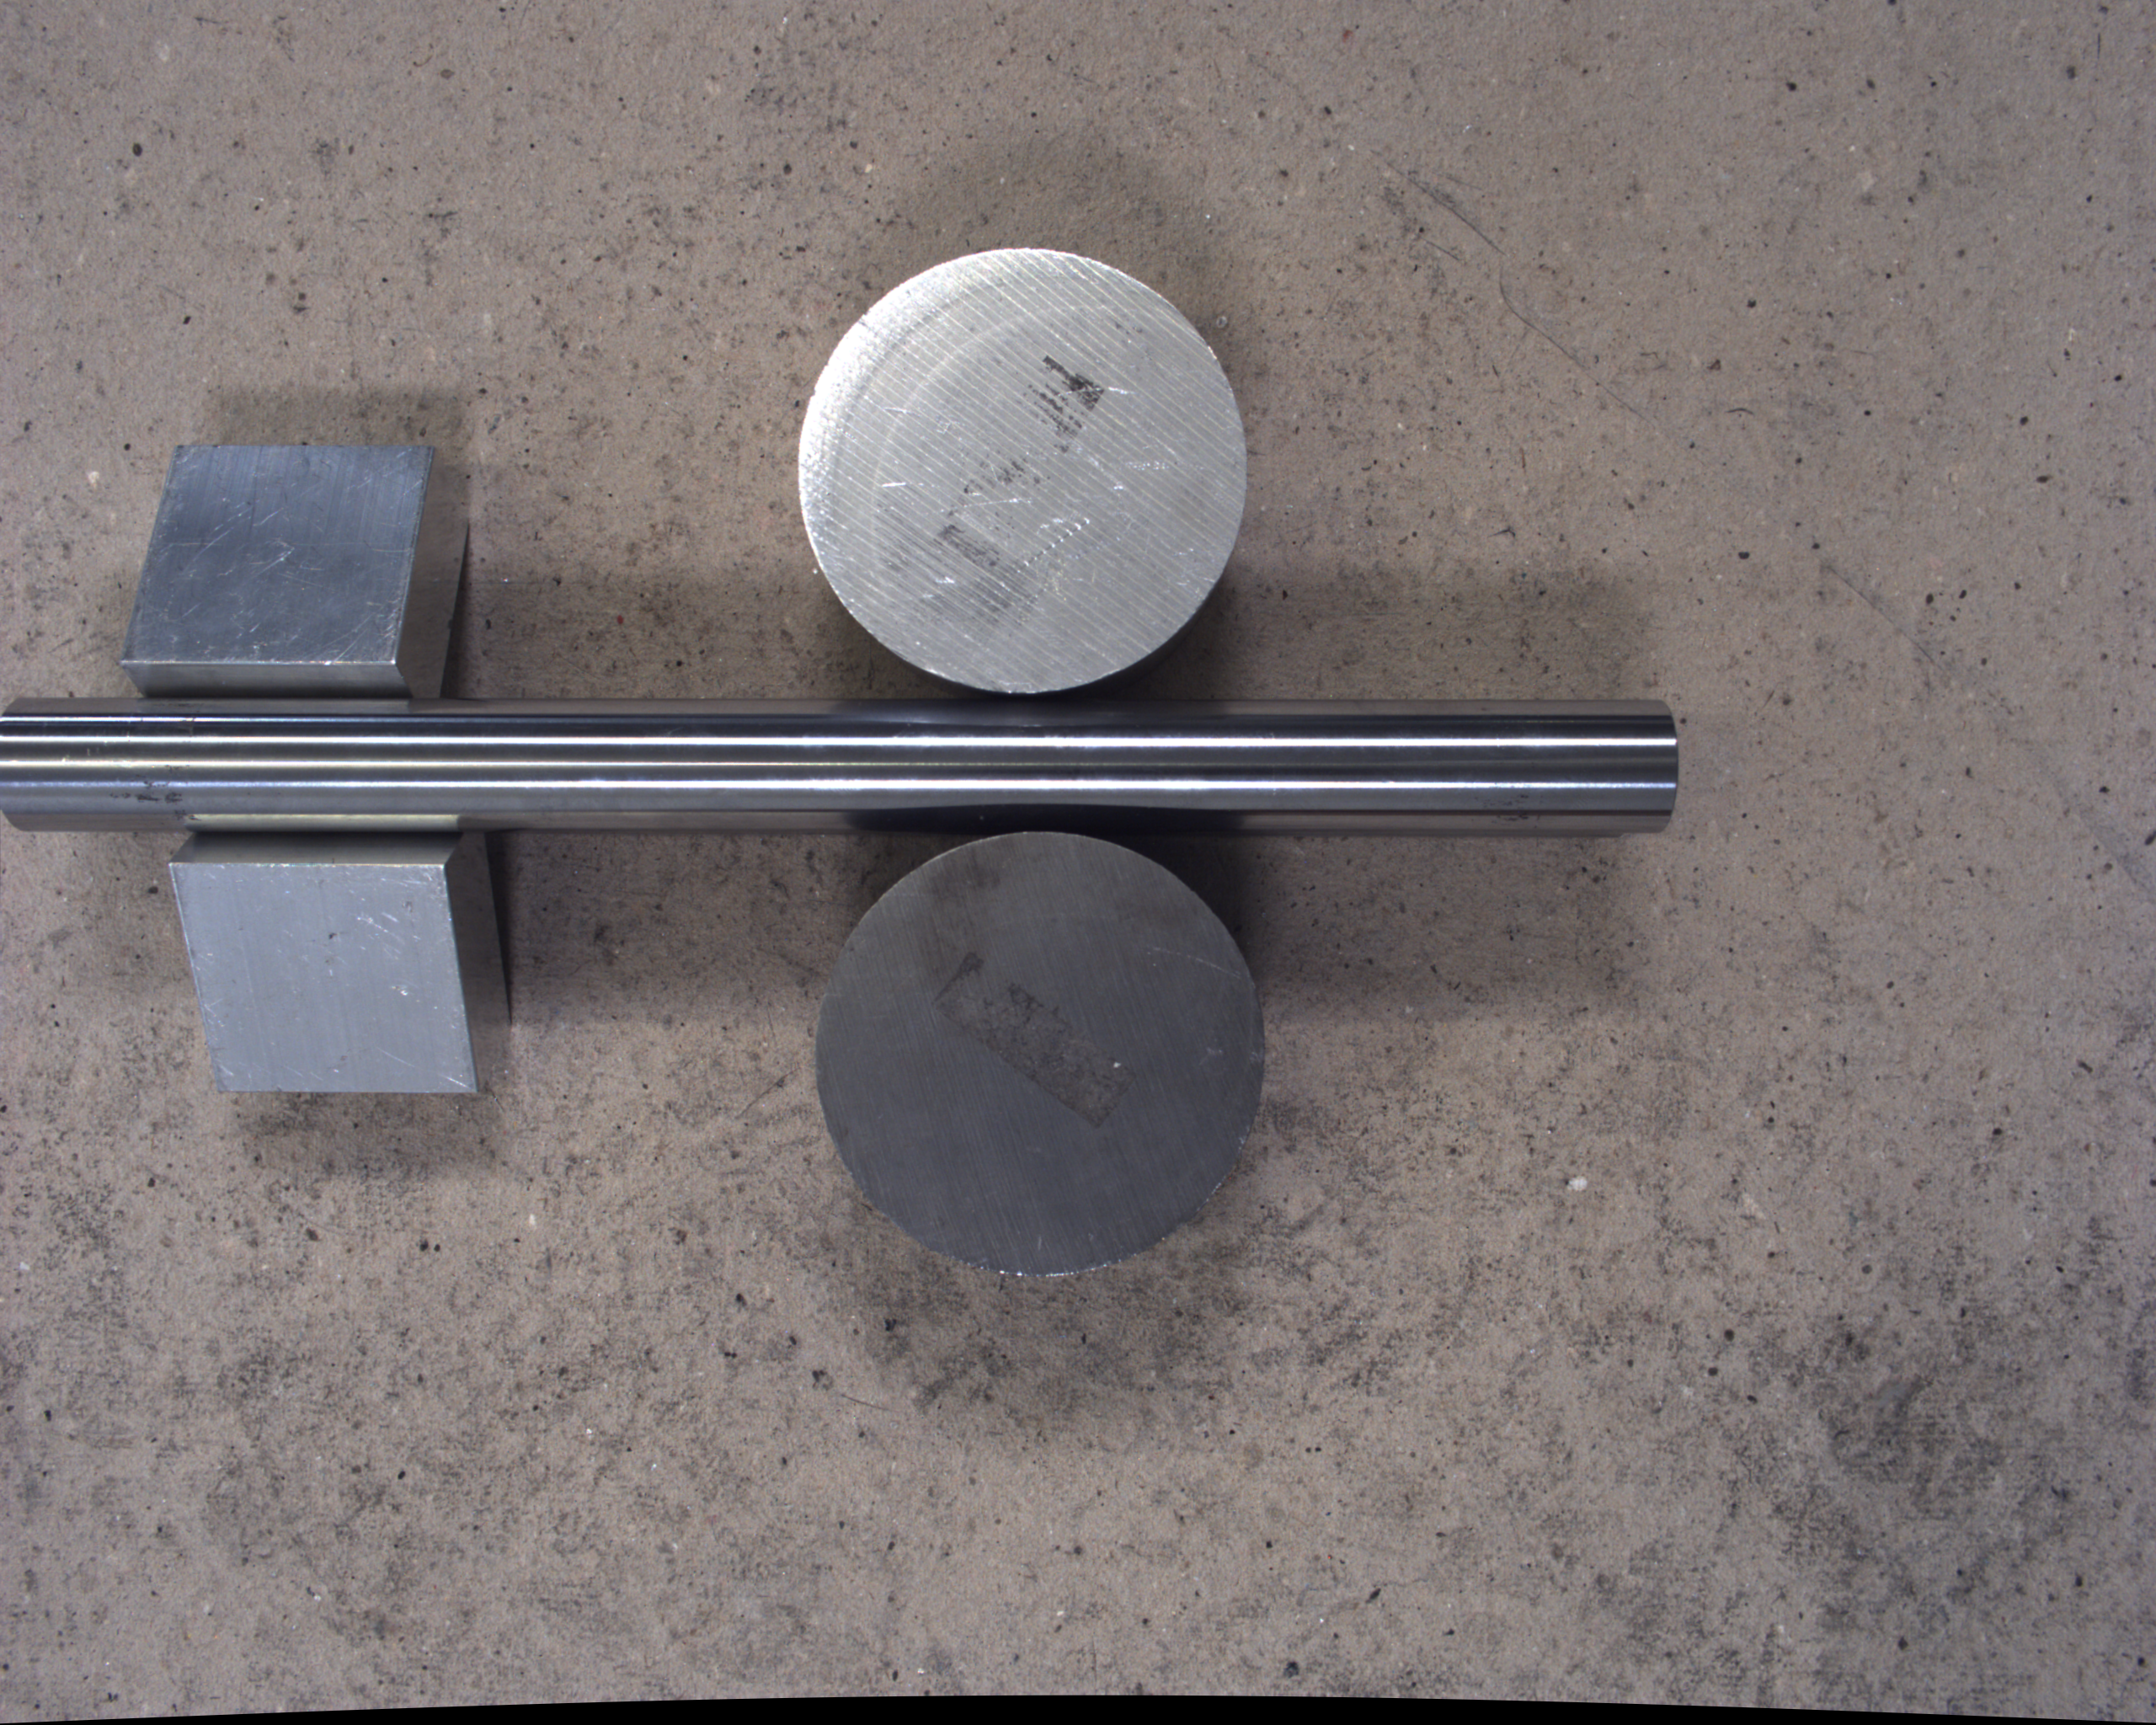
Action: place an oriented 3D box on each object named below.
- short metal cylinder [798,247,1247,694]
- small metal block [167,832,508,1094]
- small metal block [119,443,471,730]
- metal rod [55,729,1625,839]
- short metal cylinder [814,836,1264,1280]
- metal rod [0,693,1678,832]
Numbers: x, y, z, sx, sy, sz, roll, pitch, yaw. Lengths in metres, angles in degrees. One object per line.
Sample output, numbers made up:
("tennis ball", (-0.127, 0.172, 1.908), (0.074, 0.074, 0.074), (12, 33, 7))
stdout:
("short metal cylinder", (-0.010, -0.071, 0.398), (0.081, 0.050, 0.079), (0, 90, 0))
("small metal block", (-0.140, 0.016, 0.400), (0.050, 0.025, 0.050), (0, 117, -1))
("small metal block", (-0.148, -0.053, 0.400), (0.050, 0.025, 0.050), (0, 63, 0))
("metal rod", (-0.044, -0.018, 0.411), (0.302, 0.025, 0.025), (0, 90, 0))
("short metal cylinder", (-0.007, 0.035, 0.398), (0.081, 0.050, 0.079), (0, 90, 0))
("metal rod", (-0.043, -0.018, 0.386), (0.302, 0.025, 0.025), (0, 90, 0))
